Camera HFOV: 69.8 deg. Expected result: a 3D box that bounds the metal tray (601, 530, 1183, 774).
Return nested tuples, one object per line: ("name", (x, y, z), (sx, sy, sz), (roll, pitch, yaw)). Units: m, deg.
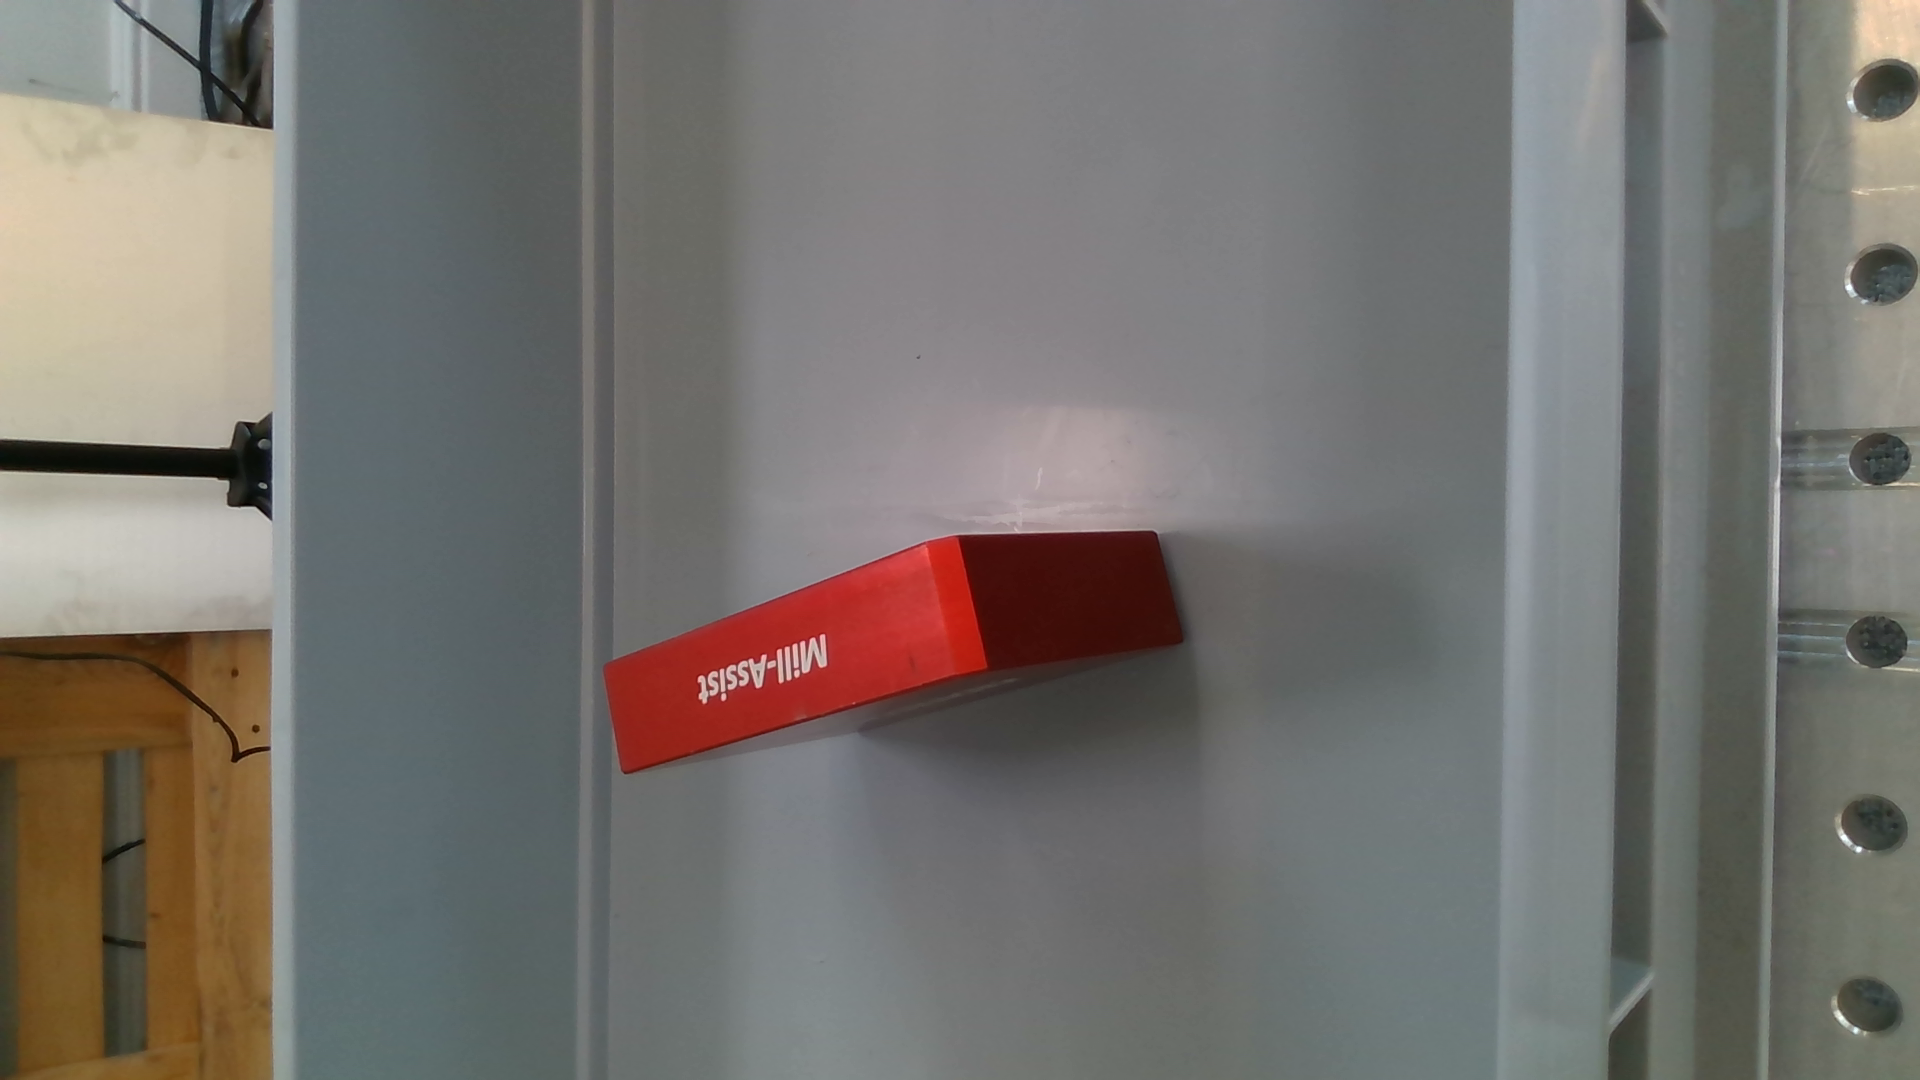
("metal tray", (-0.020, 0.030, 0.362), (0.130, 0.090, 0.030), (-21, 78, 39))
